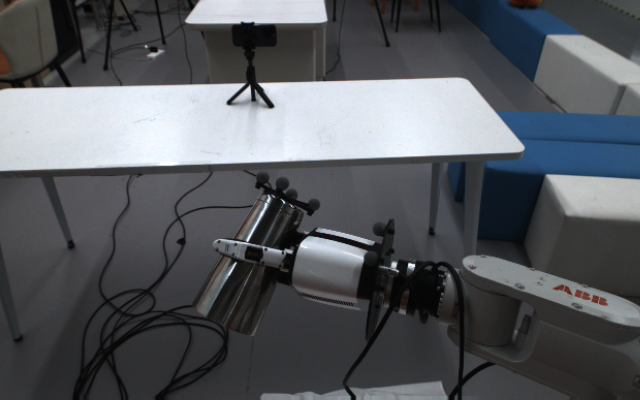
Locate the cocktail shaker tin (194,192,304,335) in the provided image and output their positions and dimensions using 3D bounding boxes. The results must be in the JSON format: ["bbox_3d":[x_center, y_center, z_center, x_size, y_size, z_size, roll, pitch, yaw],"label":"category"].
[{"bbox_3d":[-0.086,0.077,0.639,0.093,0.093,0.170,21,81,26],"label":"cocktail shaker tin"}]
